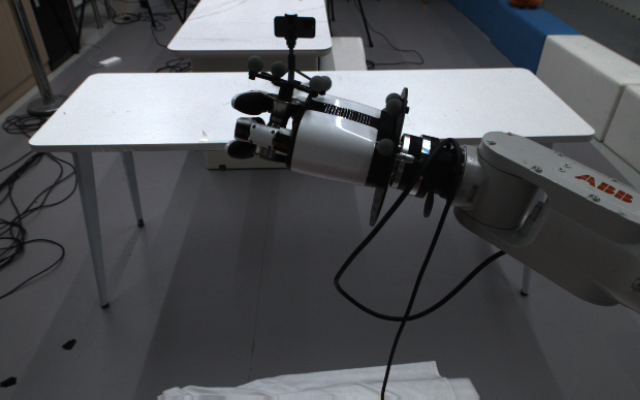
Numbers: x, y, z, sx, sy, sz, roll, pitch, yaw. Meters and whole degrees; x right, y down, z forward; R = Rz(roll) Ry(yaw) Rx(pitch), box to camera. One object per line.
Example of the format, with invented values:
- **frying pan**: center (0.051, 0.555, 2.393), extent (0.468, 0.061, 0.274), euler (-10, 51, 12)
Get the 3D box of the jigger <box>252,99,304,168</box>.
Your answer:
- **jigger**: center (-0.046, -0.082, 0.552), extent (0.043, 0.071, 0.043), euler (15, 17, -5)
